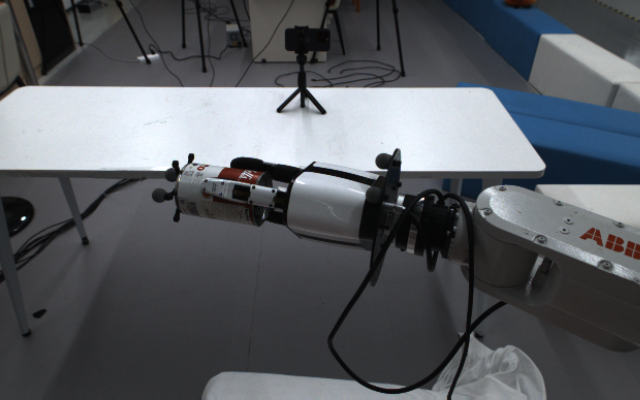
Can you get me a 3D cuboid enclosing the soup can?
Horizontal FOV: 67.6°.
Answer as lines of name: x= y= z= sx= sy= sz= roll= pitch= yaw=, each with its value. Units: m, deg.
soup can: x=-0.115 y=-0.007 z=0.598 sx=0.101 sy=0.067 sz=0.067 roll=8 pitch=35 yaw=11
